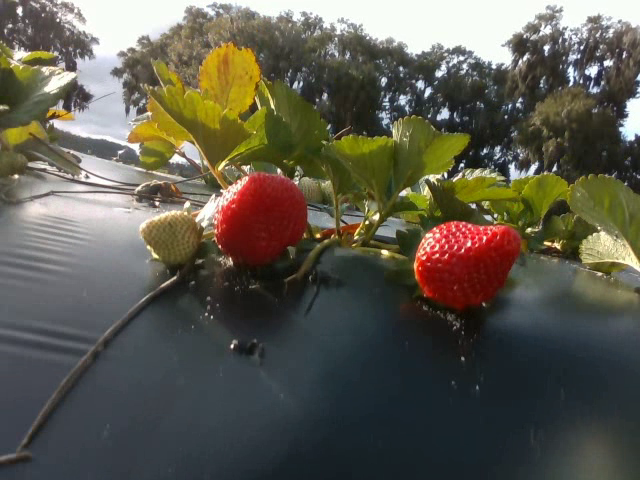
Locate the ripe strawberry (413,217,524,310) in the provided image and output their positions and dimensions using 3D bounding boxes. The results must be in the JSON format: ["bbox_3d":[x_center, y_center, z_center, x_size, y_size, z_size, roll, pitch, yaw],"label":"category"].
[{"bbox_3d":[0.048,0.001,0.182,0.033,0.038,0.039,31,-27,2],"label":"ripe strawberry"}]

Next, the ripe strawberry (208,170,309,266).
[{"bbox_3d":[-0.019,-0.013,0.191,0.035,0.041,0.036,-2,-18,4],"label":"ripe strawberry"}]
